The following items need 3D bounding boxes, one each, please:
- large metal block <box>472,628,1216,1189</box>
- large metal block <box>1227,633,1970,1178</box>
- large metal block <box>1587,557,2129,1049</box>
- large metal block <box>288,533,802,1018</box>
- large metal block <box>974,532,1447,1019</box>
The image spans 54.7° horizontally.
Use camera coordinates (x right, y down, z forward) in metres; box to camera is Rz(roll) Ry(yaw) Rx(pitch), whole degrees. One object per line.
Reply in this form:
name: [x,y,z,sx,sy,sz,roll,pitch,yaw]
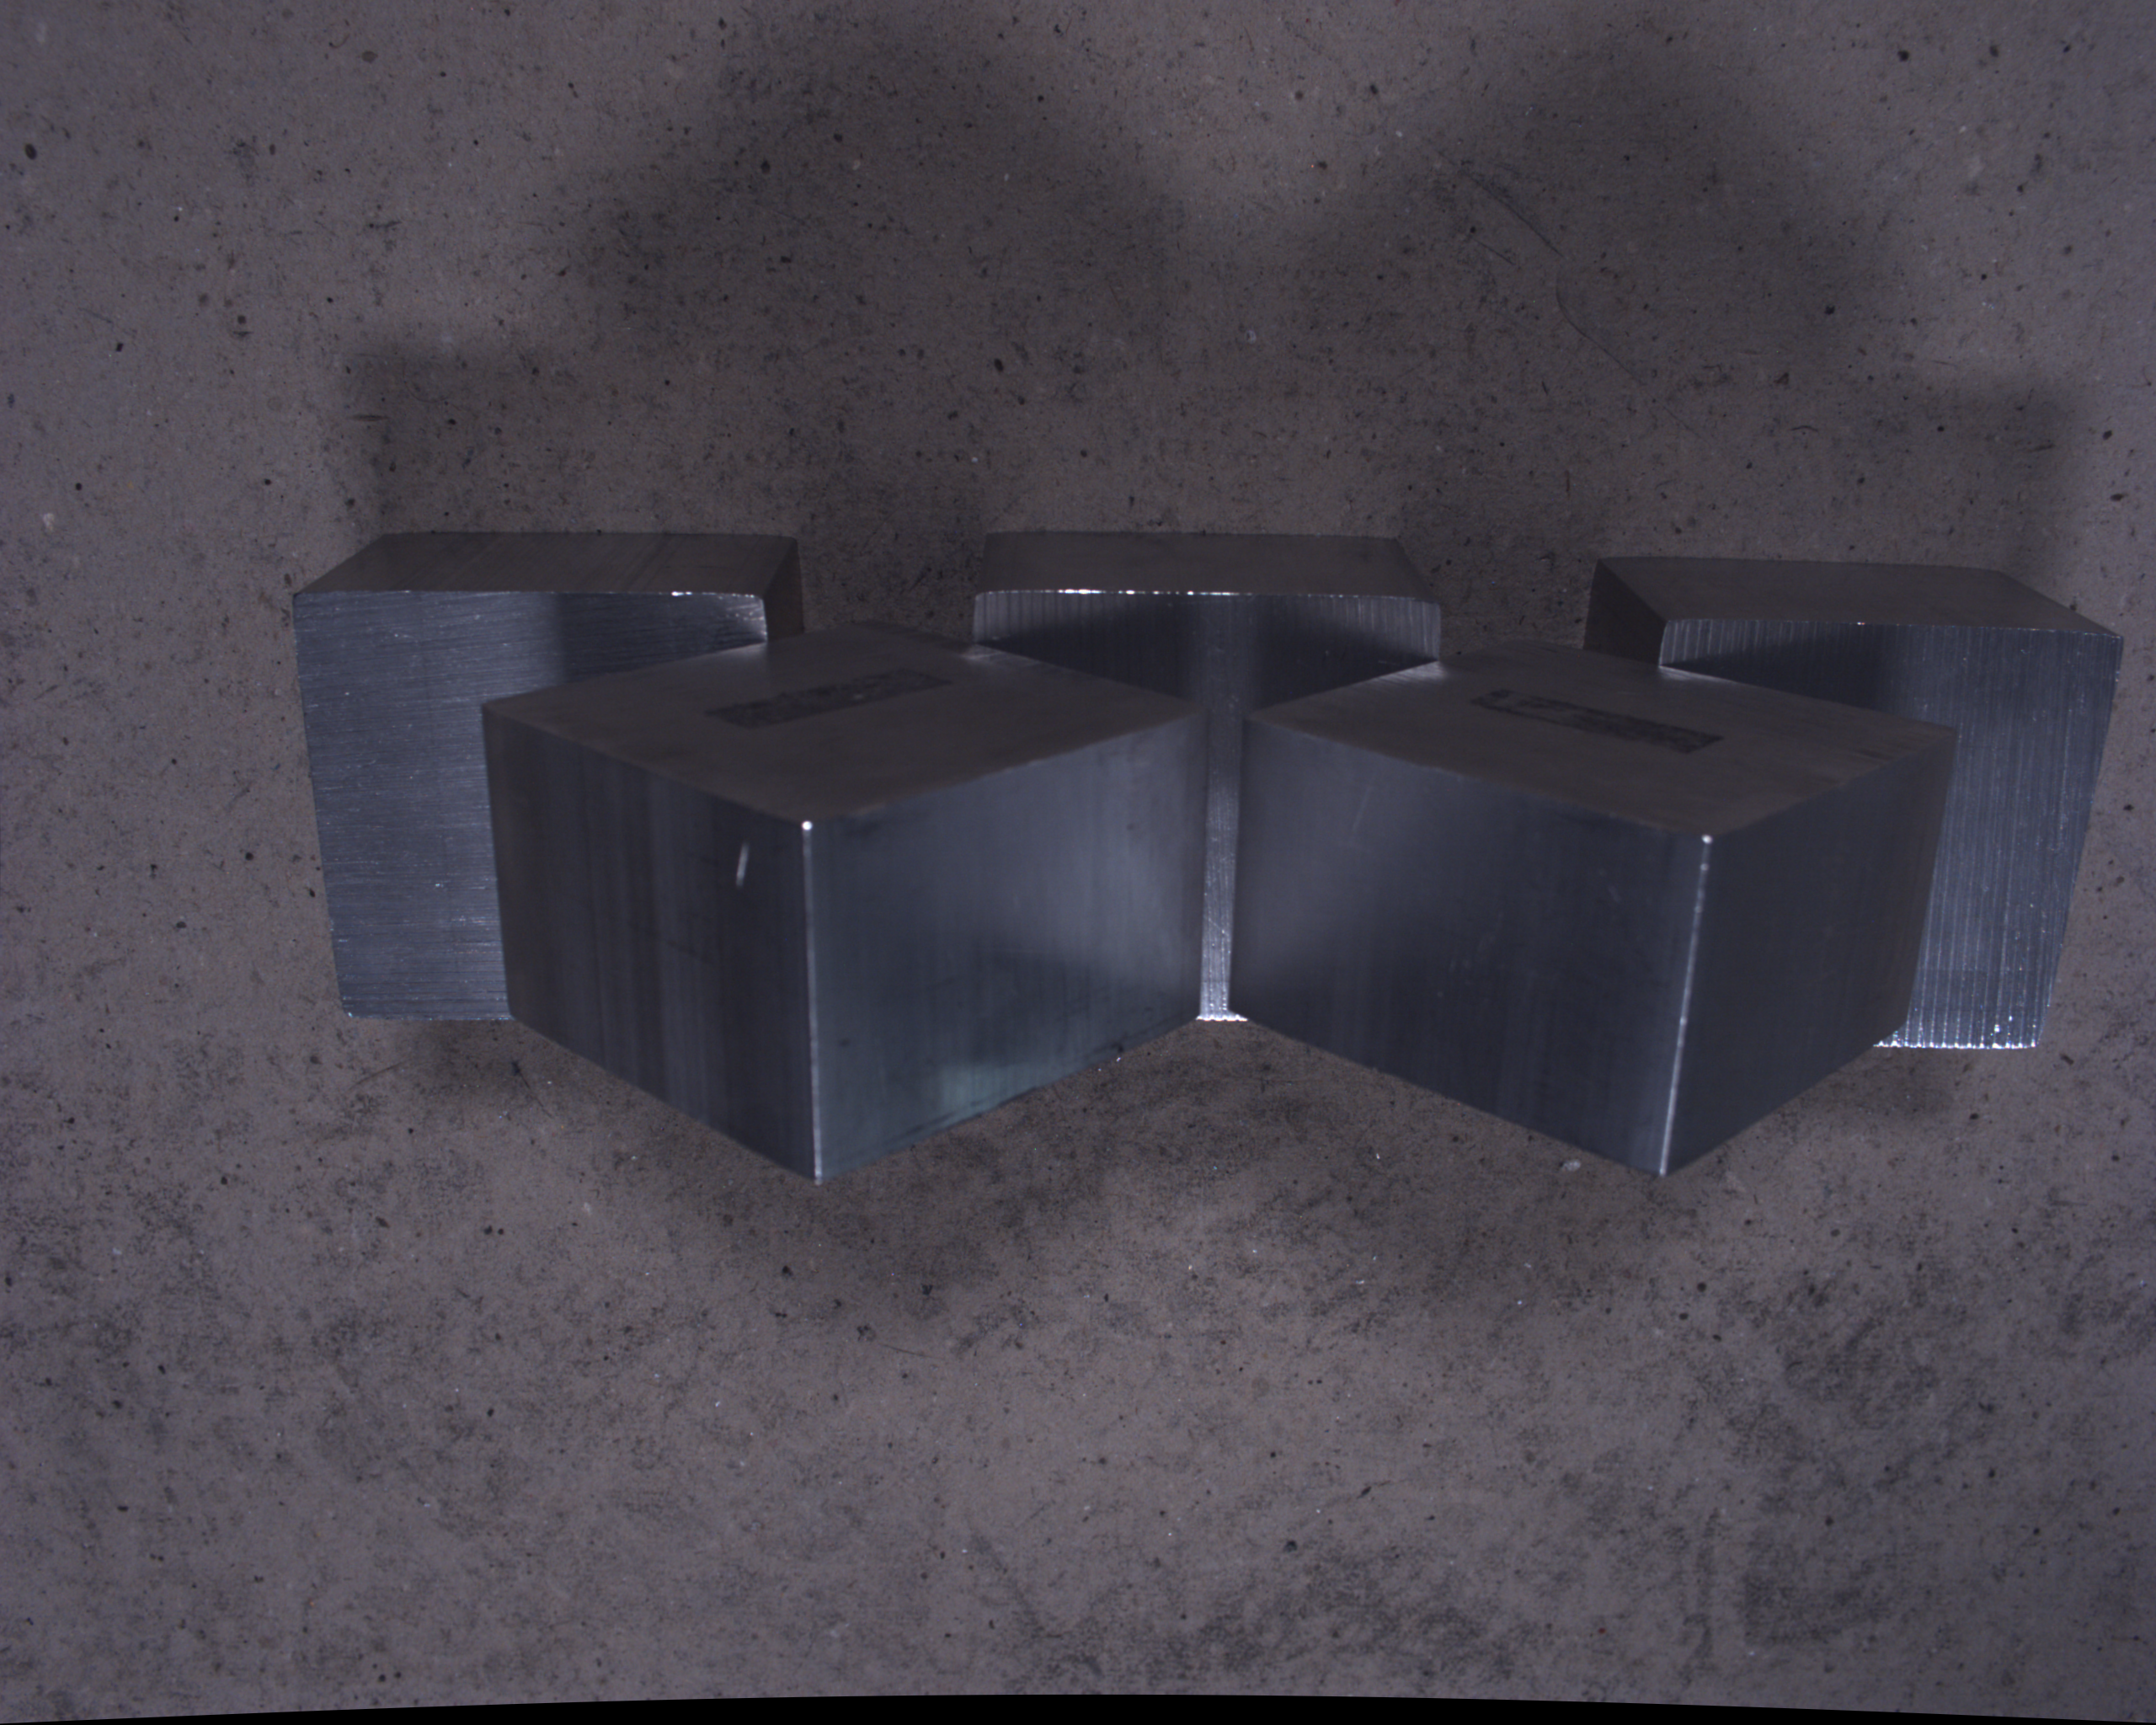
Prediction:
large metal block: [-0.036,0.001,0.328,0.081,0.080,0.050,-20,118,-42]
large metal block: [0.082,0.001,0.332,0.080,0.081,0.050,19,116,40]
large metal block: [0.140,-0.012,0.395,0.081,0.050,0.079,1,110,-1]
large metal block: [-0.094,-0.017,0.390,0.081,0.050,0.079,0,110,-1]
large metal block: [0.022,-0.017,0.392,0.081,0.050,0.079,1,110,-1]
